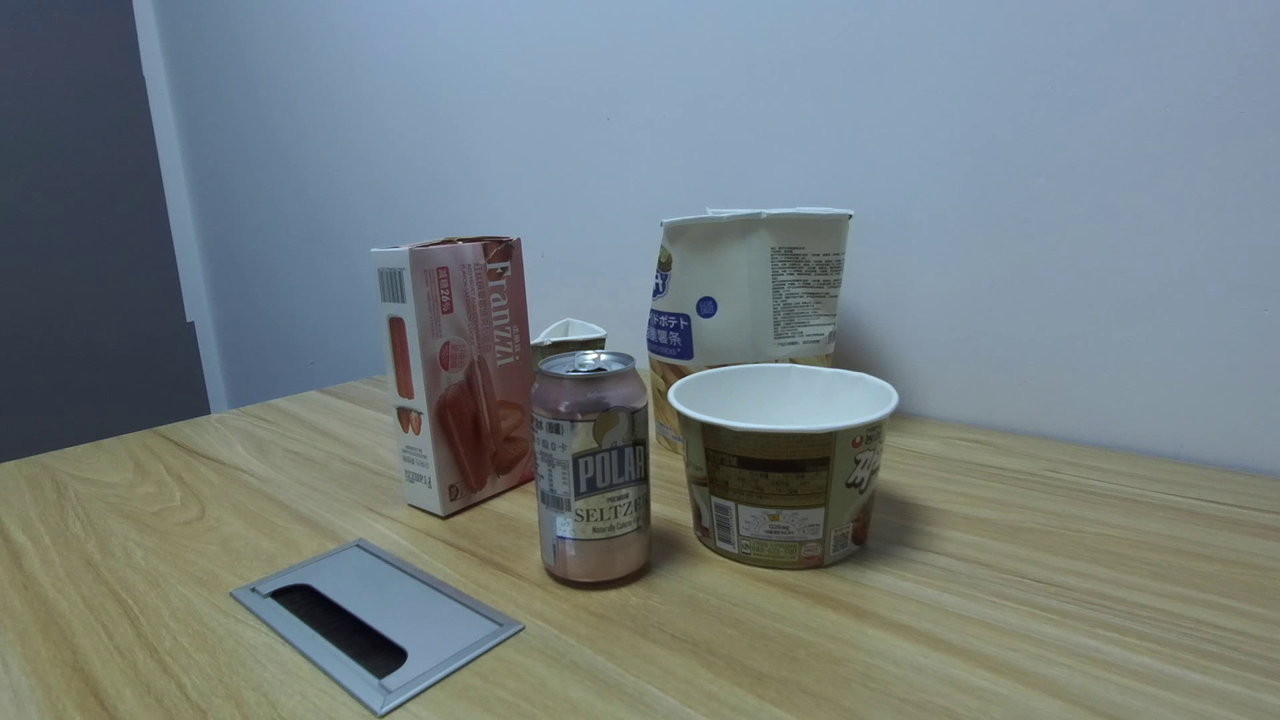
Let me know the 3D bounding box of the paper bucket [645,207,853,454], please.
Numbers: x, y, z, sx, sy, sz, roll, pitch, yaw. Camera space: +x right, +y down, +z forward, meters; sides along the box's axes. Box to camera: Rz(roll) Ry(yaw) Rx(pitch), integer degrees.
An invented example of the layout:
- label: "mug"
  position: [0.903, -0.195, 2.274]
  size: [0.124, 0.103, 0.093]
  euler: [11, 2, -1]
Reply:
- label: "paper bucket"
  position: [0.081, -0.032, 0.618]
  size: [0.169, 0.202, 0.162]
  euler: [-2, 13, -12]

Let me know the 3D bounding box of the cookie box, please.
- label: "cookie box"
  position: [-0.125, 0.005, 0.517]
  size: [0.048, 0.187, 0.105]
  euler: [8, 17, 38]

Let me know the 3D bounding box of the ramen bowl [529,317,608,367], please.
- label: "ramen bowl"
  position: [-0.101, 0.017, 0.659]
  size: [0.129, 0.093, 0.111]
  euler: [-8, 15, -28]
